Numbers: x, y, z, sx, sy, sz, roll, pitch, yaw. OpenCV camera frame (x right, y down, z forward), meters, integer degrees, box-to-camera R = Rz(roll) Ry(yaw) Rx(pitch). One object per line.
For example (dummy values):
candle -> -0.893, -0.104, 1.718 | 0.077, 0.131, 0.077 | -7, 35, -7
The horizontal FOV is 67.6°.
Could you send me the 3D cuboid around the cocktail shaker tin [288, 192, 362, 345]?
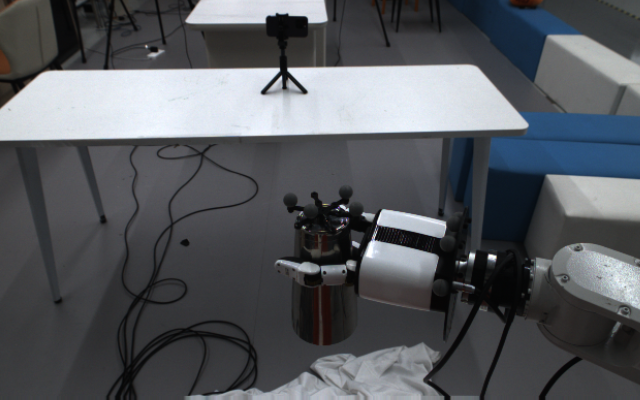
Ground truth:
cocktail shaker tin -> 0.009, 0.091, 0.626 | 0.093, 0.170, 0.093 | -1, 32, 1
